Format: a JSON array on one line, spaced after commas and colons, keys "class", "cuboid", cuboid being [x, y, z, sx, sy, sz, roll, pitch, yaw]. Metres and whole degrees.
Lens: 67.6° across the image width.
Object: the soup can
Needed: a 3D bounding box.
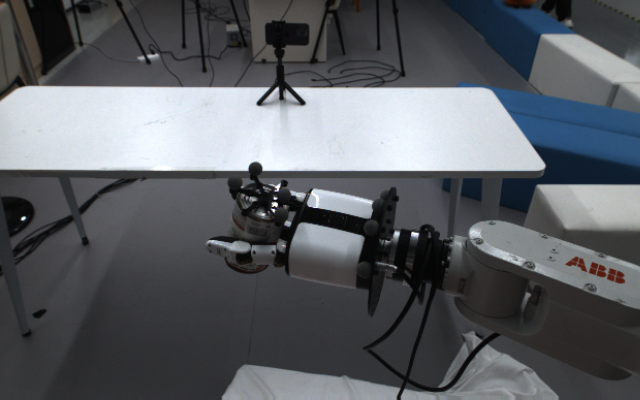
[{"class": "soup can", "cuboid": [-0.082, 0.038, 0.617, 0.067, 0.101, 0.067, 14, 40, -12]}]
